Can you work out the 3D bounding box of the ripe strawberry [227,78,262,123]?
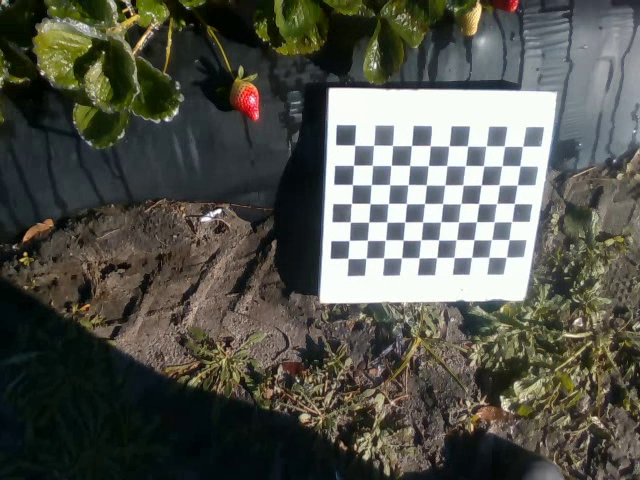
[{"bbox_3d":[-0.083,-0.158,0.700,0.039,0.053,0.040,-21,3,-2],"label":"ripe strawberry"}]
